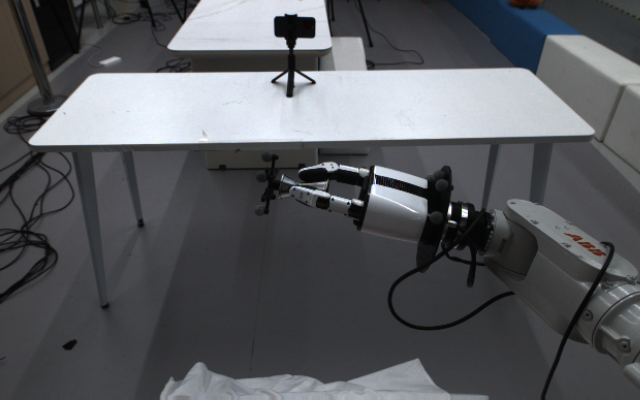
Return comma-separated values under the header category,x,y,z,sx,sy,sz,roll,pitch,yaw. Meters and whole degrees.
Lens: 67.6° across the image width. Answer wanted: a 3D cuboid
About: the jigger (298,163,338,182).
category,x,y,z,sx,sy,sz,roll,pitch,yaw
jigger,-0.016,-0.018,0.710,0.071,0.043,0.043,9,35,4
